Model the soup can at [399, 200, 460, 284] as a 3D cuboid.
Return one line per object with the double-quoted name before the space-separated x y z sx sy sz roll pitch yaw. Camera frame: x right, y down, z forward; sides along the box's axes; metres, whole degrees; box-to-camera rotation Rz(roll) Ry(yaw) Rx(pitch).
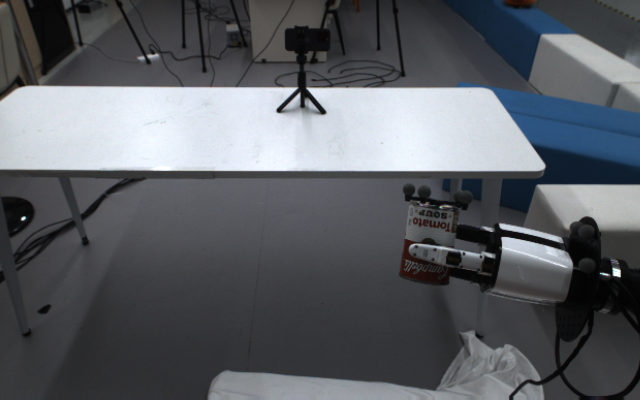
"soup can" 0.148 0.055 0.649 0.067 0.101 0.067 7 4 0
